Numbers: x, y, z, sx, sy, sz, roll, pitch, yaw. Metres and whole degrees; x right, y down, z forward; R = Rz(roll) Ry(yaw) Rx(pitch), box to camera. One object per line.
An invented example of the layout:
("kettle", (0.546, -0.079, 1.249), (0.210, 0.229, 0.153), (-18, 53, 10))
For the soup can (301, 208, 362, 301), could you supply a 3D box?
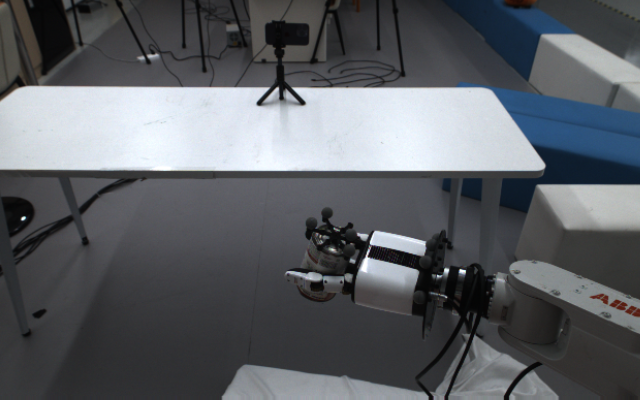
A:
("soup can", (0.009, 0.097, 0.732), (0.067, 0.101, 0.067), (13, 34, -9))
